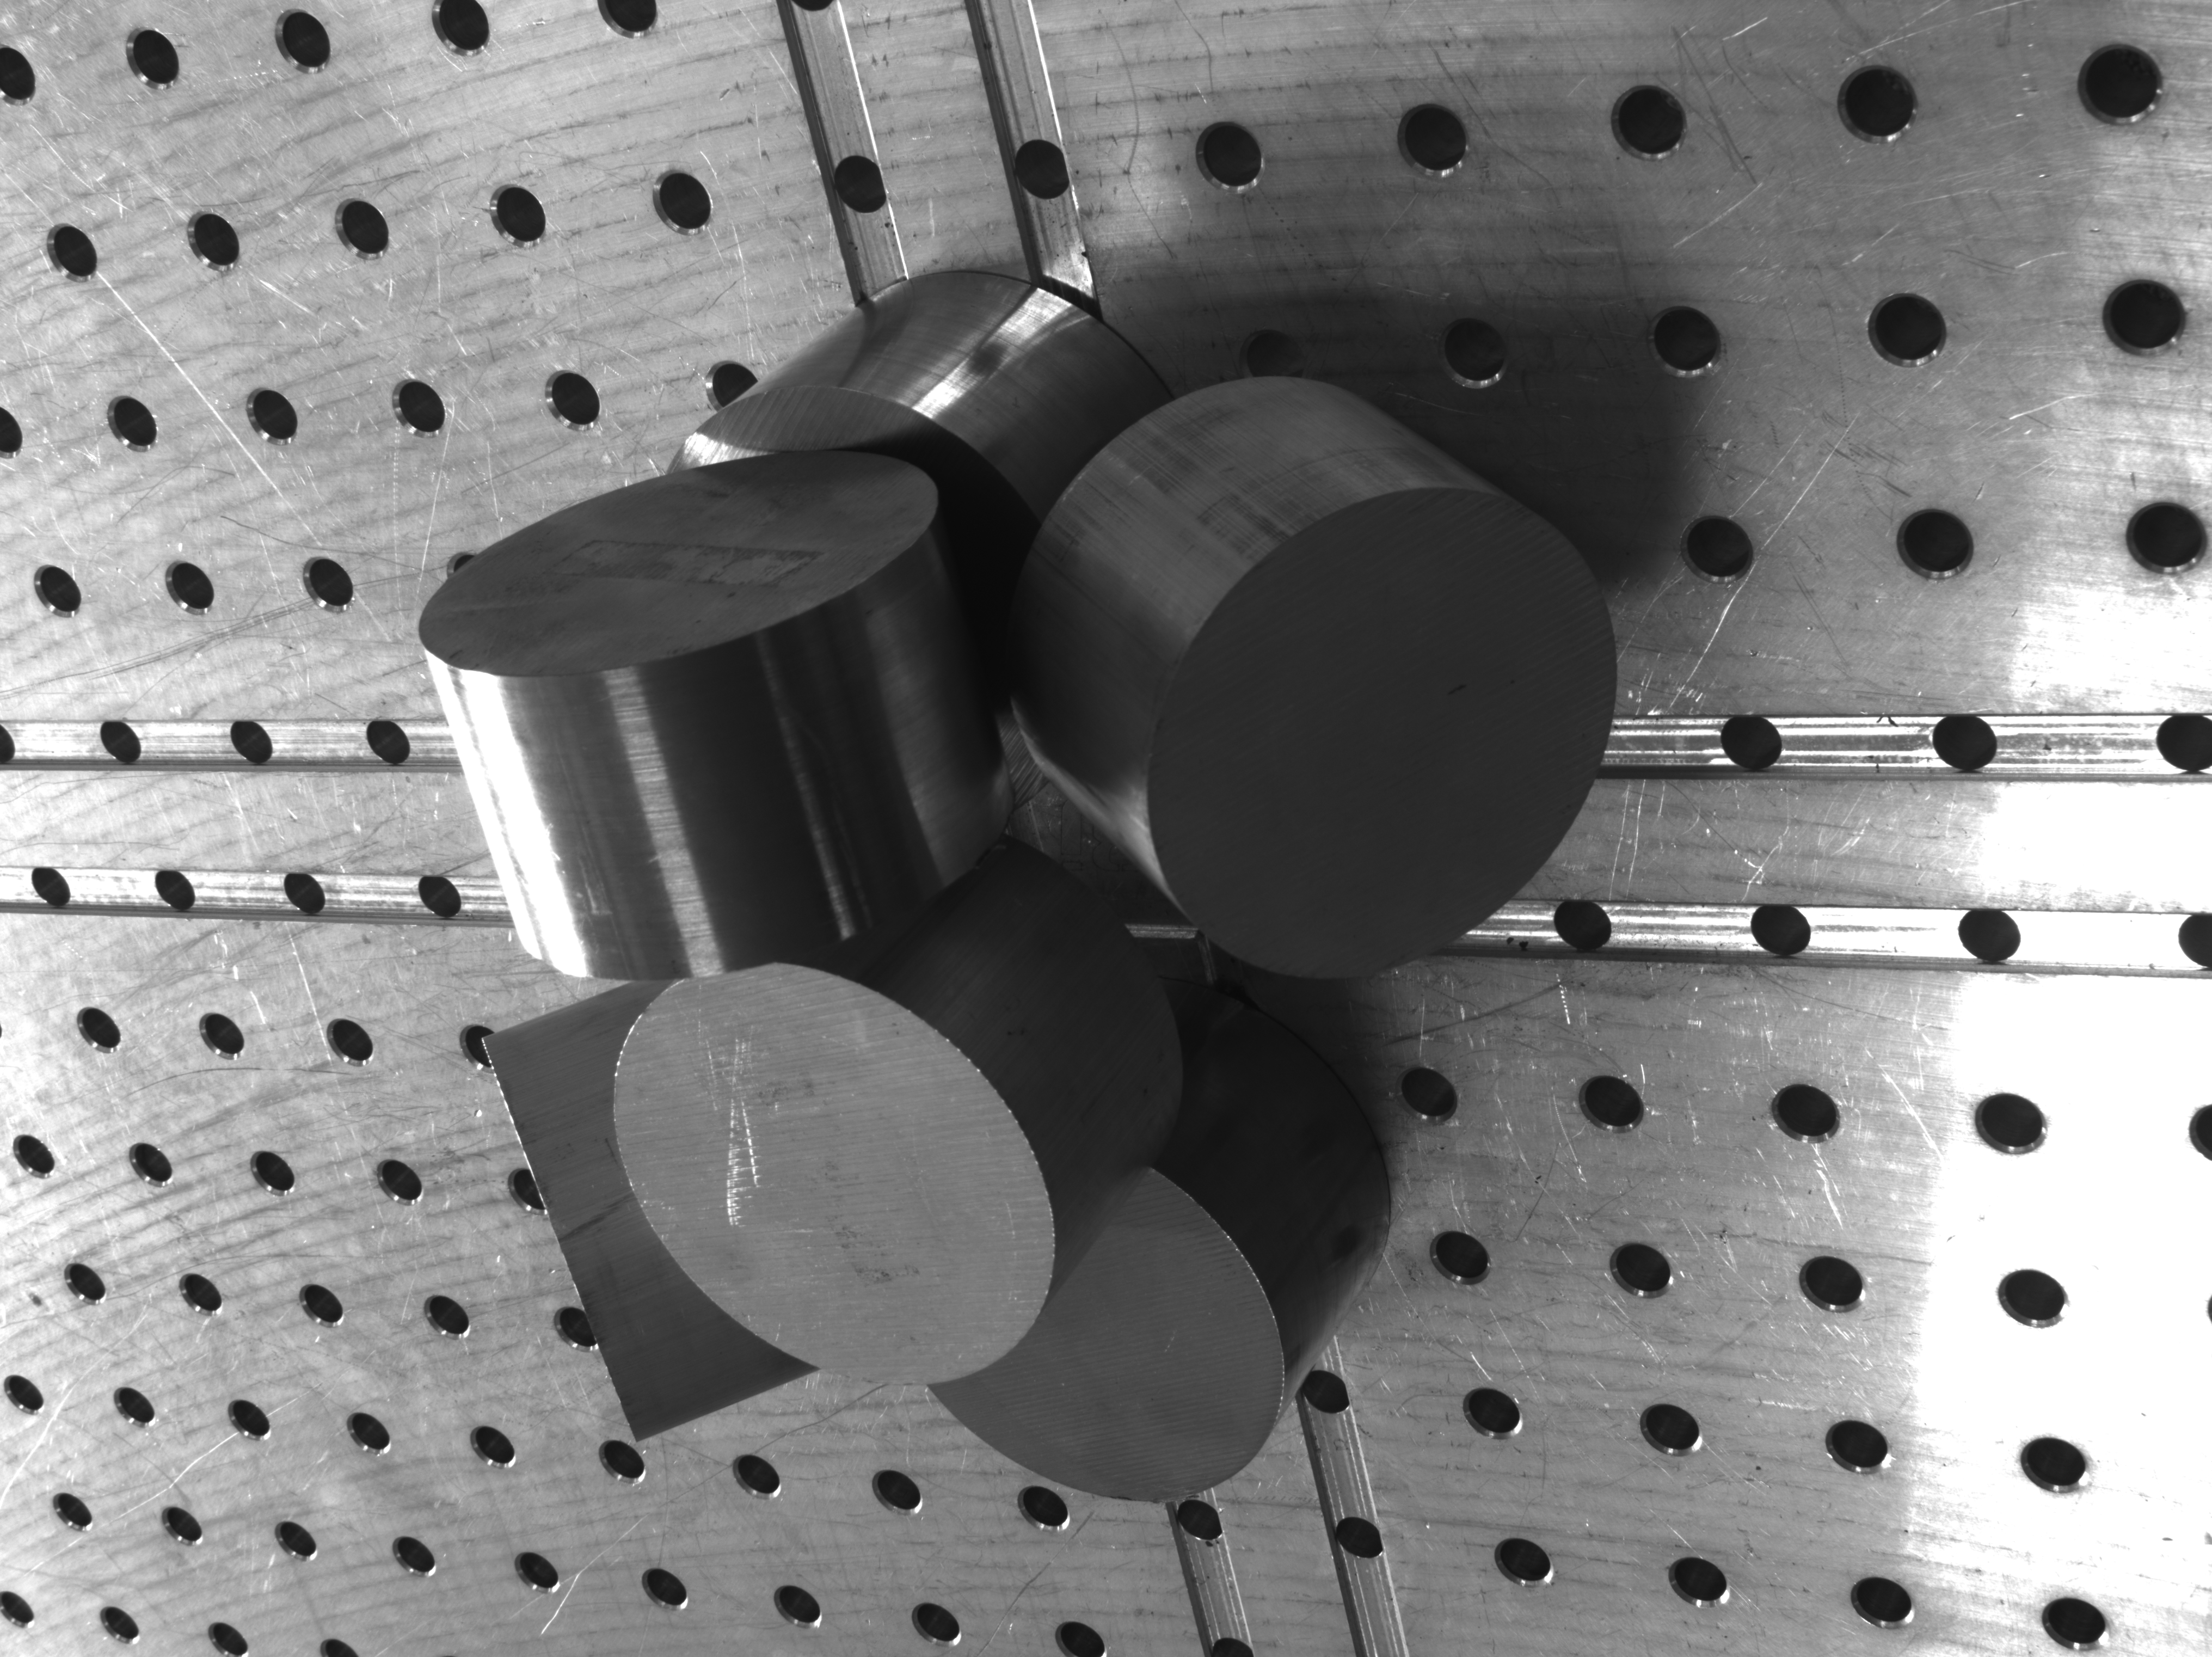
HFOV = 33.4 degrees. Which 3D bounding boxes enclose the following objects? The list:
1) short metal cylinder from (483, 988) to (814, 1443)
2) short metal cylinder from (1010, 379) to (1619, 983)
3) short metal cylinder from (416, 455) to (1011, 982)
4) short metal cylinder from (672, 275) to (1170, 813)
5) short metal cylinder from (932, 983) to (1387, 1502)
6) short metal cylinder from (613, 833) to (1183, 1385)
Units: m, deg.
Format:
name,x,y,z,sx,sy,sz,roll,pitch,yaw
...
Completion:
name,x,y,z,sx,sy,sz,roll,pitch,yaw
short metal cylinder,-0.078,0.068,0.686,0.050,0.080,0.080,-21,114,-10
short metal cylinder,0.032,-0.023,0.570,0.050,0.080,0.080,-134,34,-53
short metal cylinder,-0.059,-0.018,0.564,0.080,0.080,0.050,0,118,28
short metal cylinder,-0.029,-0.046,0.616,0.080,0.050,0.080,14,124,21
short metal cylinder,0.005,0.075,0.672,0.080,0.050,0.080,13,124,20
short metal cylinder,-0.034,0.044,0.609,0.080,0.050,0.080,13,124,21
